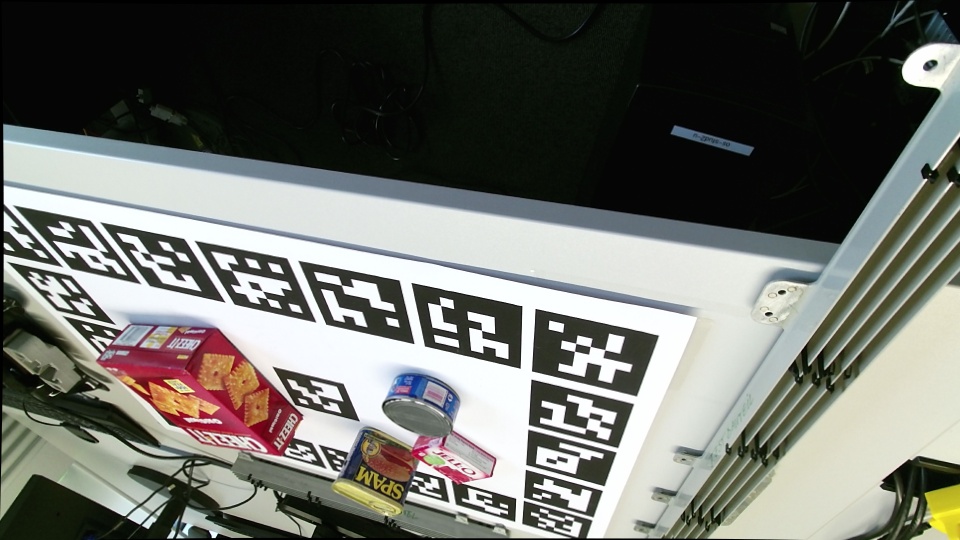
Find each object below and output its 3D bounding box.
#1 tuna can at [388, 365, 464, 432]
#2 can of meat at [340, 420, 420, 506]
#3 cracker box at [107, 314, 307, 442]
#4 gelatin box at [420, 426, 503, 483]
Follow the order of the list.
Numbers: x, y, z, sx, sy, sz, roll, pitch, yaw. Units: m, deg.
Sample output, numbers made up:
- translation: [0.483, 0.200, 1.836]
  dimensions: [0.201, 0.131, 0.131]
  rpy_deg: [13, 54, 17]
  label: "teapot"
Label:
- translation: [-0.063, 0.149, 0.620]
  dimensions: [0.086, 0.033, 0.086]
  rpy_deg: [11, 135, 11]
  label: "tuna can"
- translation: [-0.138, 0.274, 0.765]
  dimensions: [0.102, 0.083, 0.058]
  rpy_deg: [30, 139, -11]
  label: "can of meat"
- translation: [-0.372, 0.153, 0.743]
  dimensions: [0.164, 0.072, 0.214]
  rpy_deg: [0, 136, 26]
  label: "cracker box"
- translation: [-0.026, 0.250, 0.720]
  dimensions: [0.089, 0.030, 0.073]
  rpy_deg: [41, 139, -17]
  label: "gelatin box"
